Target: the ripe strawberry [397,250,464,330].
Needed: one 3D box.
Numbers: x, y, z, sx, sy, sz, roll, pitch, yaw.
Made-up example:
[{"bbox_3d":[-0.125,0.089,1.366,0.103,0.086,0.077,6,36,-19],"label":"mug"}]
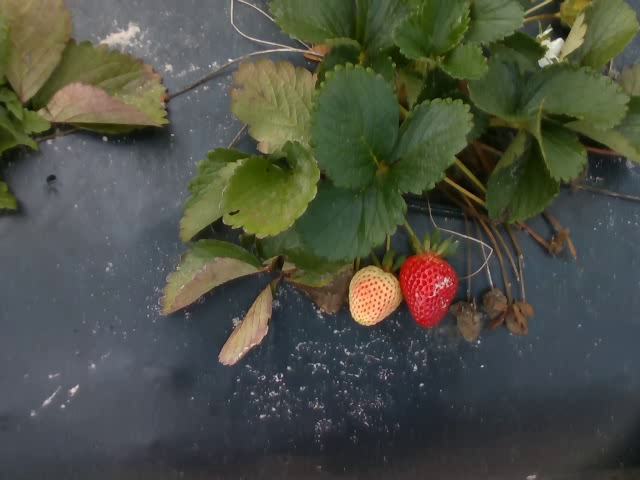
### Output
[{"bbox_3d":[0.054,0.026,0.309,0.034,0.041,0.033,25,-34,-16],"label":"ripe strawberry"}]
